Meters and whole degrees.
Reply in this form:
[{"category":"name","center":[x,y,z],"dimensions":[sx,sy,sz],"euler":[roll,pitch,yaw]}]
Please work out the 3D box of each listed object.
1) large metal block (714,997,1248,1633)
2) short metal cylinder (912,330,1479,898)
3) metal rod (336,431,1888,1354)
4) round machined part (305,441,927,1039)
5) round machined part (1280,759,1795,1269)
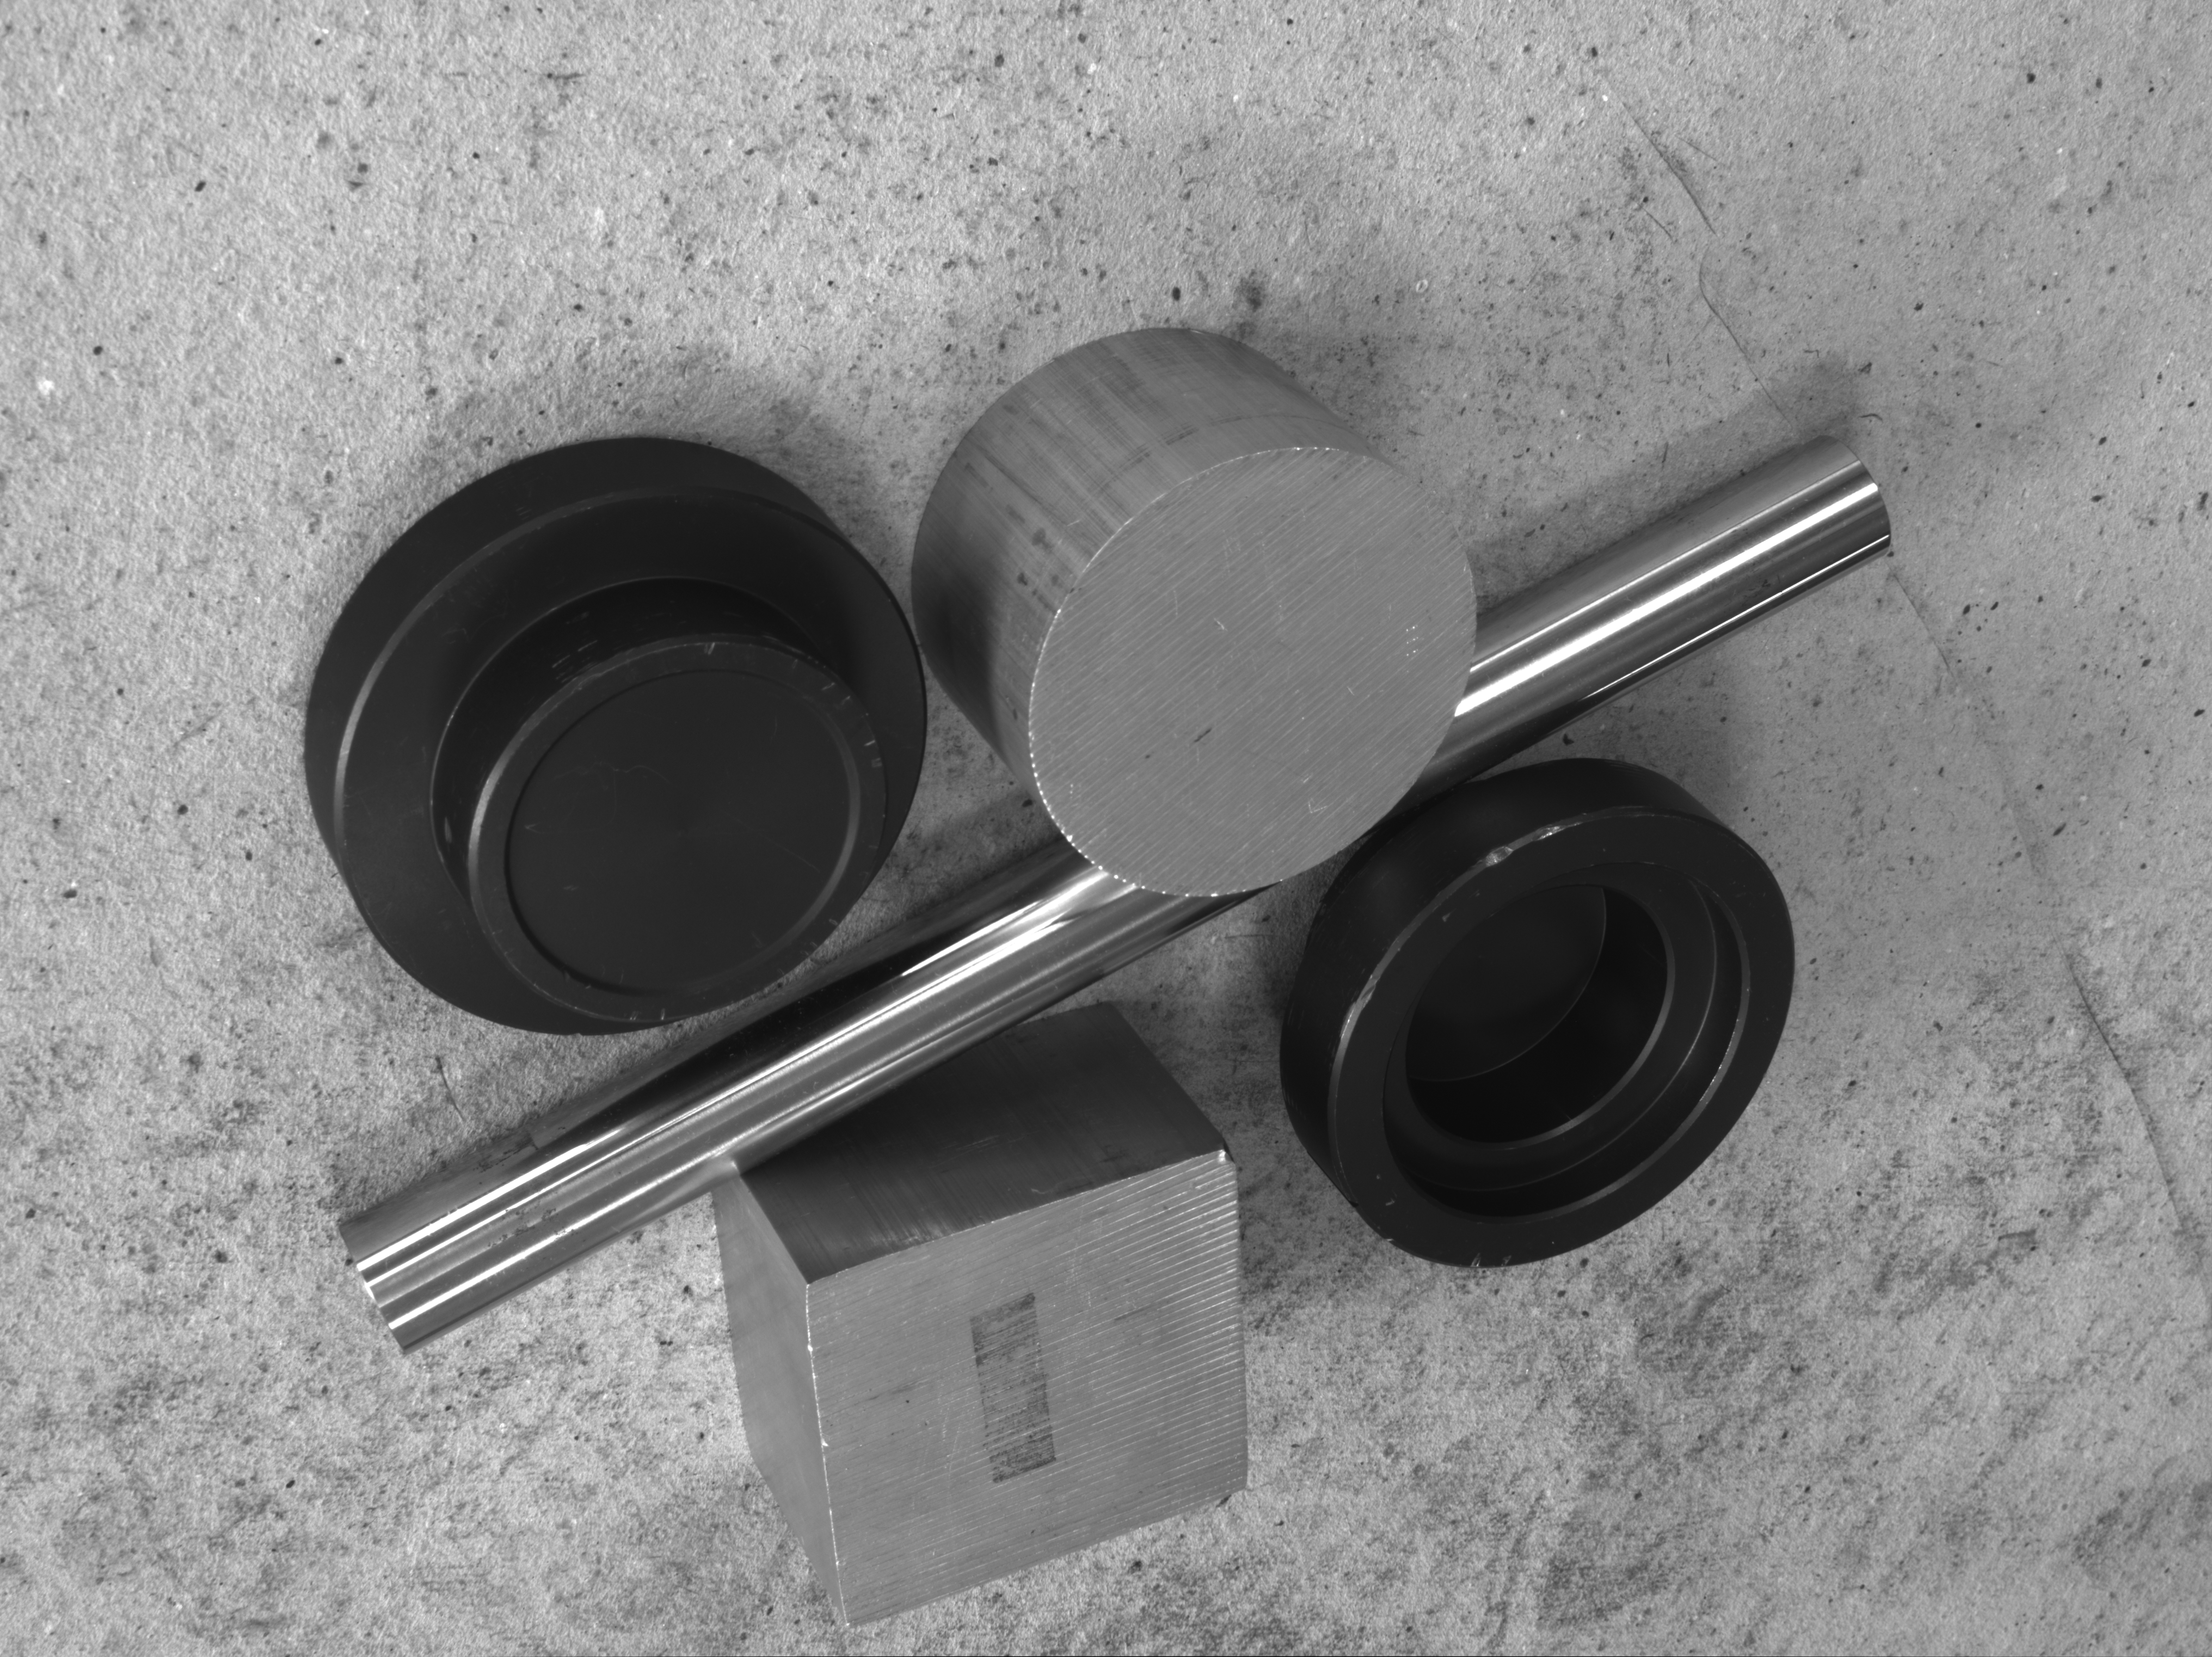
[{"category":"large metal block","center":[-0.022,0.087,0.664],"dimensions":[0.080,0.050,0.080],"euler":[-16,125,-19]},{"category":"short metal cylinder","center":[0.014,-0.036,0.607],"dimensions":[0.080,0.050,0.080],"euler":[-13,124,-21]},{"category":"metal rod","center":[0.006,0.008,0.647],"dimensions":[0.300,0.025,0.025],"euler":[-28,128,-11]},{"category":"round machined part","center":[-0.073,-0.008,0.582],"dimensions":[0.098,0.042,0.098],"euler":[-13,124,-21]},{"category":"round machined part","center":[0.076,0.030,0.686],"dimensions":[0.098,0.042,0.098],"euler":[-13,124,-21]}]
